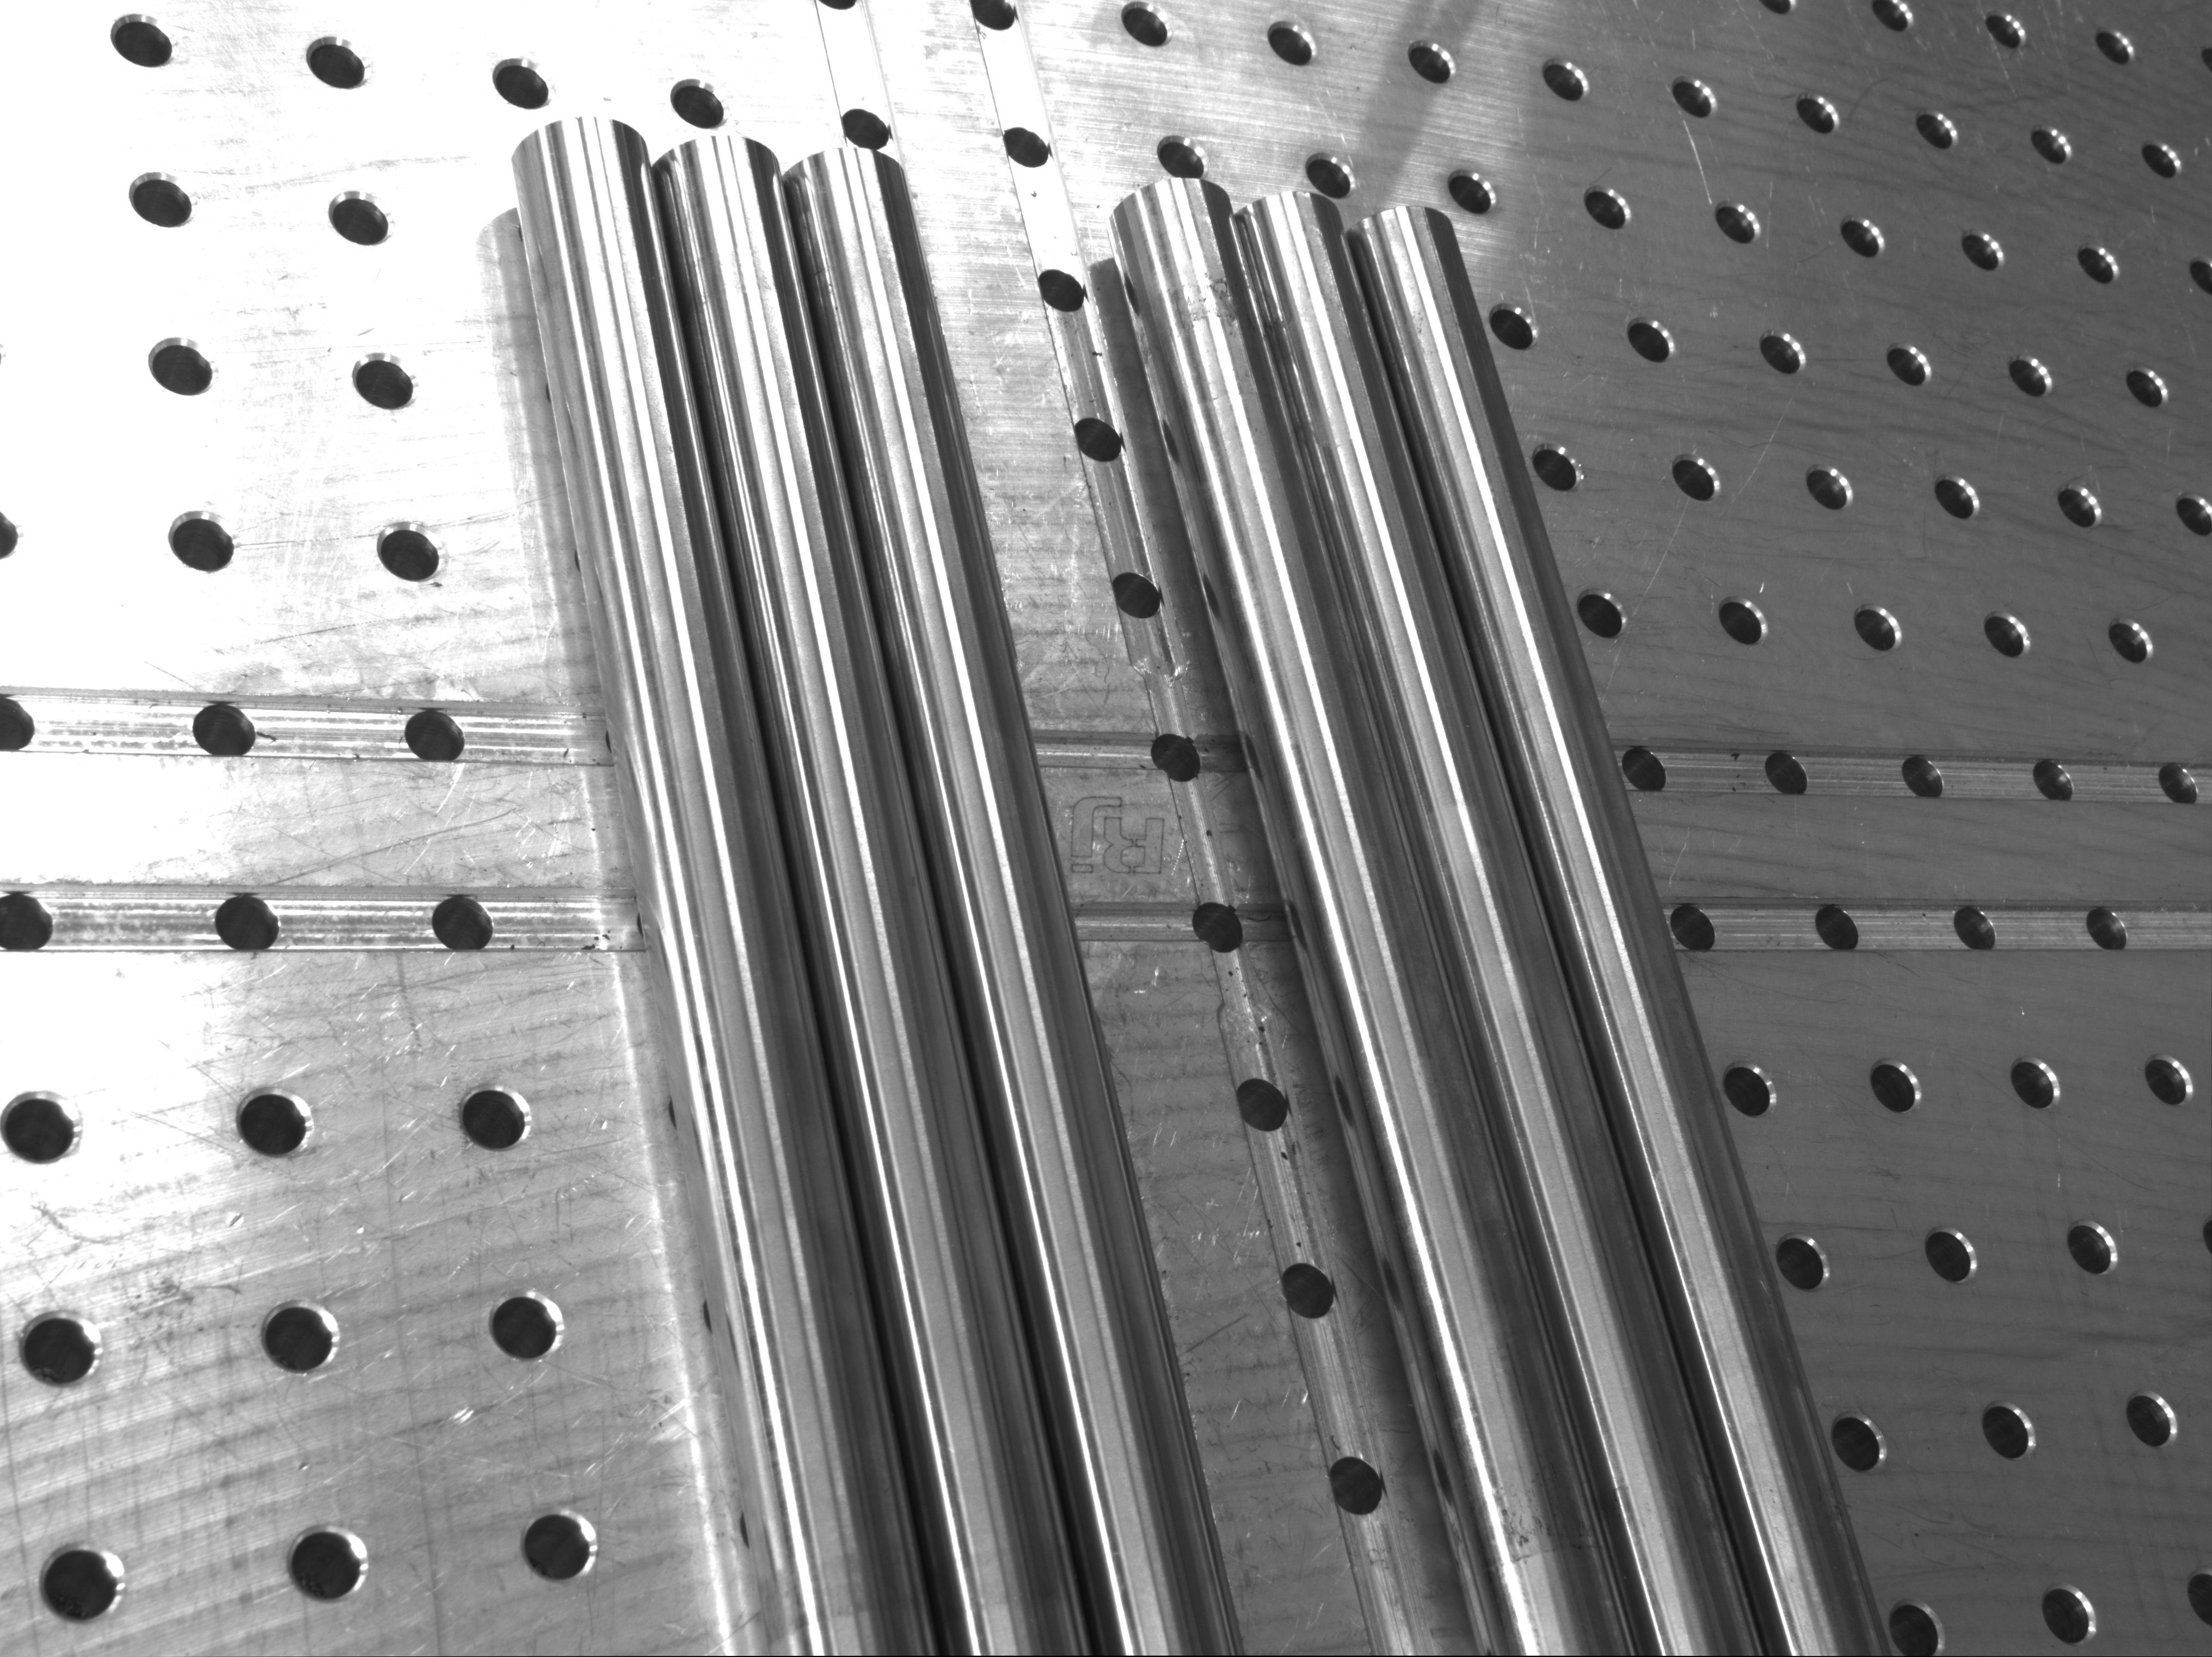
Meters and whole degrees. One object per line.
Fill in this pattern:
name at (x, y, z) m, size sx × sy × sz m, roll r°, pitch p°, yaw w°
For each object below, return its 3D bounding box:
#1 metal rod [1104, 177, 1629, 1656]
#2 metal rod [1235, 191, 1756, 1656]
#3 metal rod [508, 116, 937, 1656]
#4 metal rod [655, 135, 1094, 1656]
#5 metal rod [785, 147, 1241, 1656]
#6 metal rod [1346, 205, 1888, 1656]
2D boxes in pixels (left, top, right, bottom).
metal rod at (0.043, 0.012, 0.658) m, size 0.025 × 0.025 × 0.300 m, roll 1°, pitch 61°, yaw -28°
metal rod at (0.065, 0.012, 0.669) m, size 0.025 × 0.025 × 0.300 m, roll 1°, pitch 61°, yaw -28°
metal rod at (-0.064, 0.011, 0.601) m, size 0.025 × 0.025 × 0.300 m, roll 1°, pitch 61°, yaw -28°
metal rod at (-0.041, 0.012, 0.612) m, size 0.025 × 0.025 × 0.300 m, roll 1°, pitch 61°, yaw -28°
metal rod at (-0.019, 0.012, 0.624) m, size 0.025 × 0.025 × 0.300 m, roll 1°, pitch 61°, yaw -28°
metal rod at (0.089, 0.013, 0.681) m, size 0.025 × 0.025 × 0.300 m, roll 1°, pitch 61°, yaw -28°
